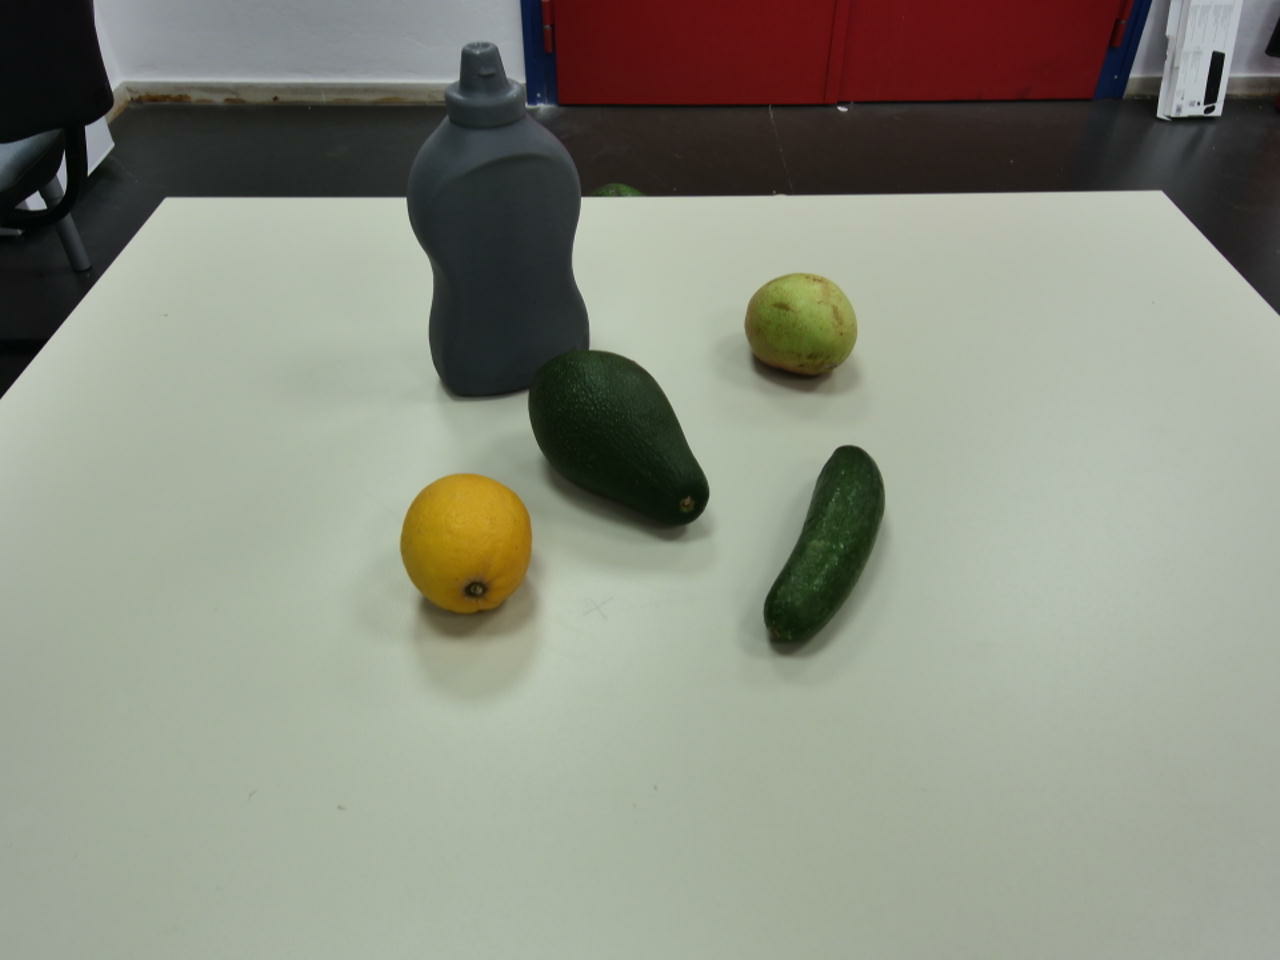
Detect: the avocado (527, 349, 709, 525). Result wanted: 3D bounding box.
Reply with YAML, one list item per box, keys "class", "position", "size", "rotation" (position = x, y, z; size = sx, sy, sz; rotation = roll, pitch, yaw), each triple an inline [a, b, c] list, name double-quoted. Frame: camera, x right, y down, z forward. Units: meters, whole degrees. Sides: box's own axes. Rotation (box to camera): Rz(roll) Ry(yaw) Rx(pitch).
- class: "avocado"
  position: [-0.014, -0.023, 0.516]
  size: [0.072, 0.071, 0.109]
  rotation: [-16, 41, -18]
